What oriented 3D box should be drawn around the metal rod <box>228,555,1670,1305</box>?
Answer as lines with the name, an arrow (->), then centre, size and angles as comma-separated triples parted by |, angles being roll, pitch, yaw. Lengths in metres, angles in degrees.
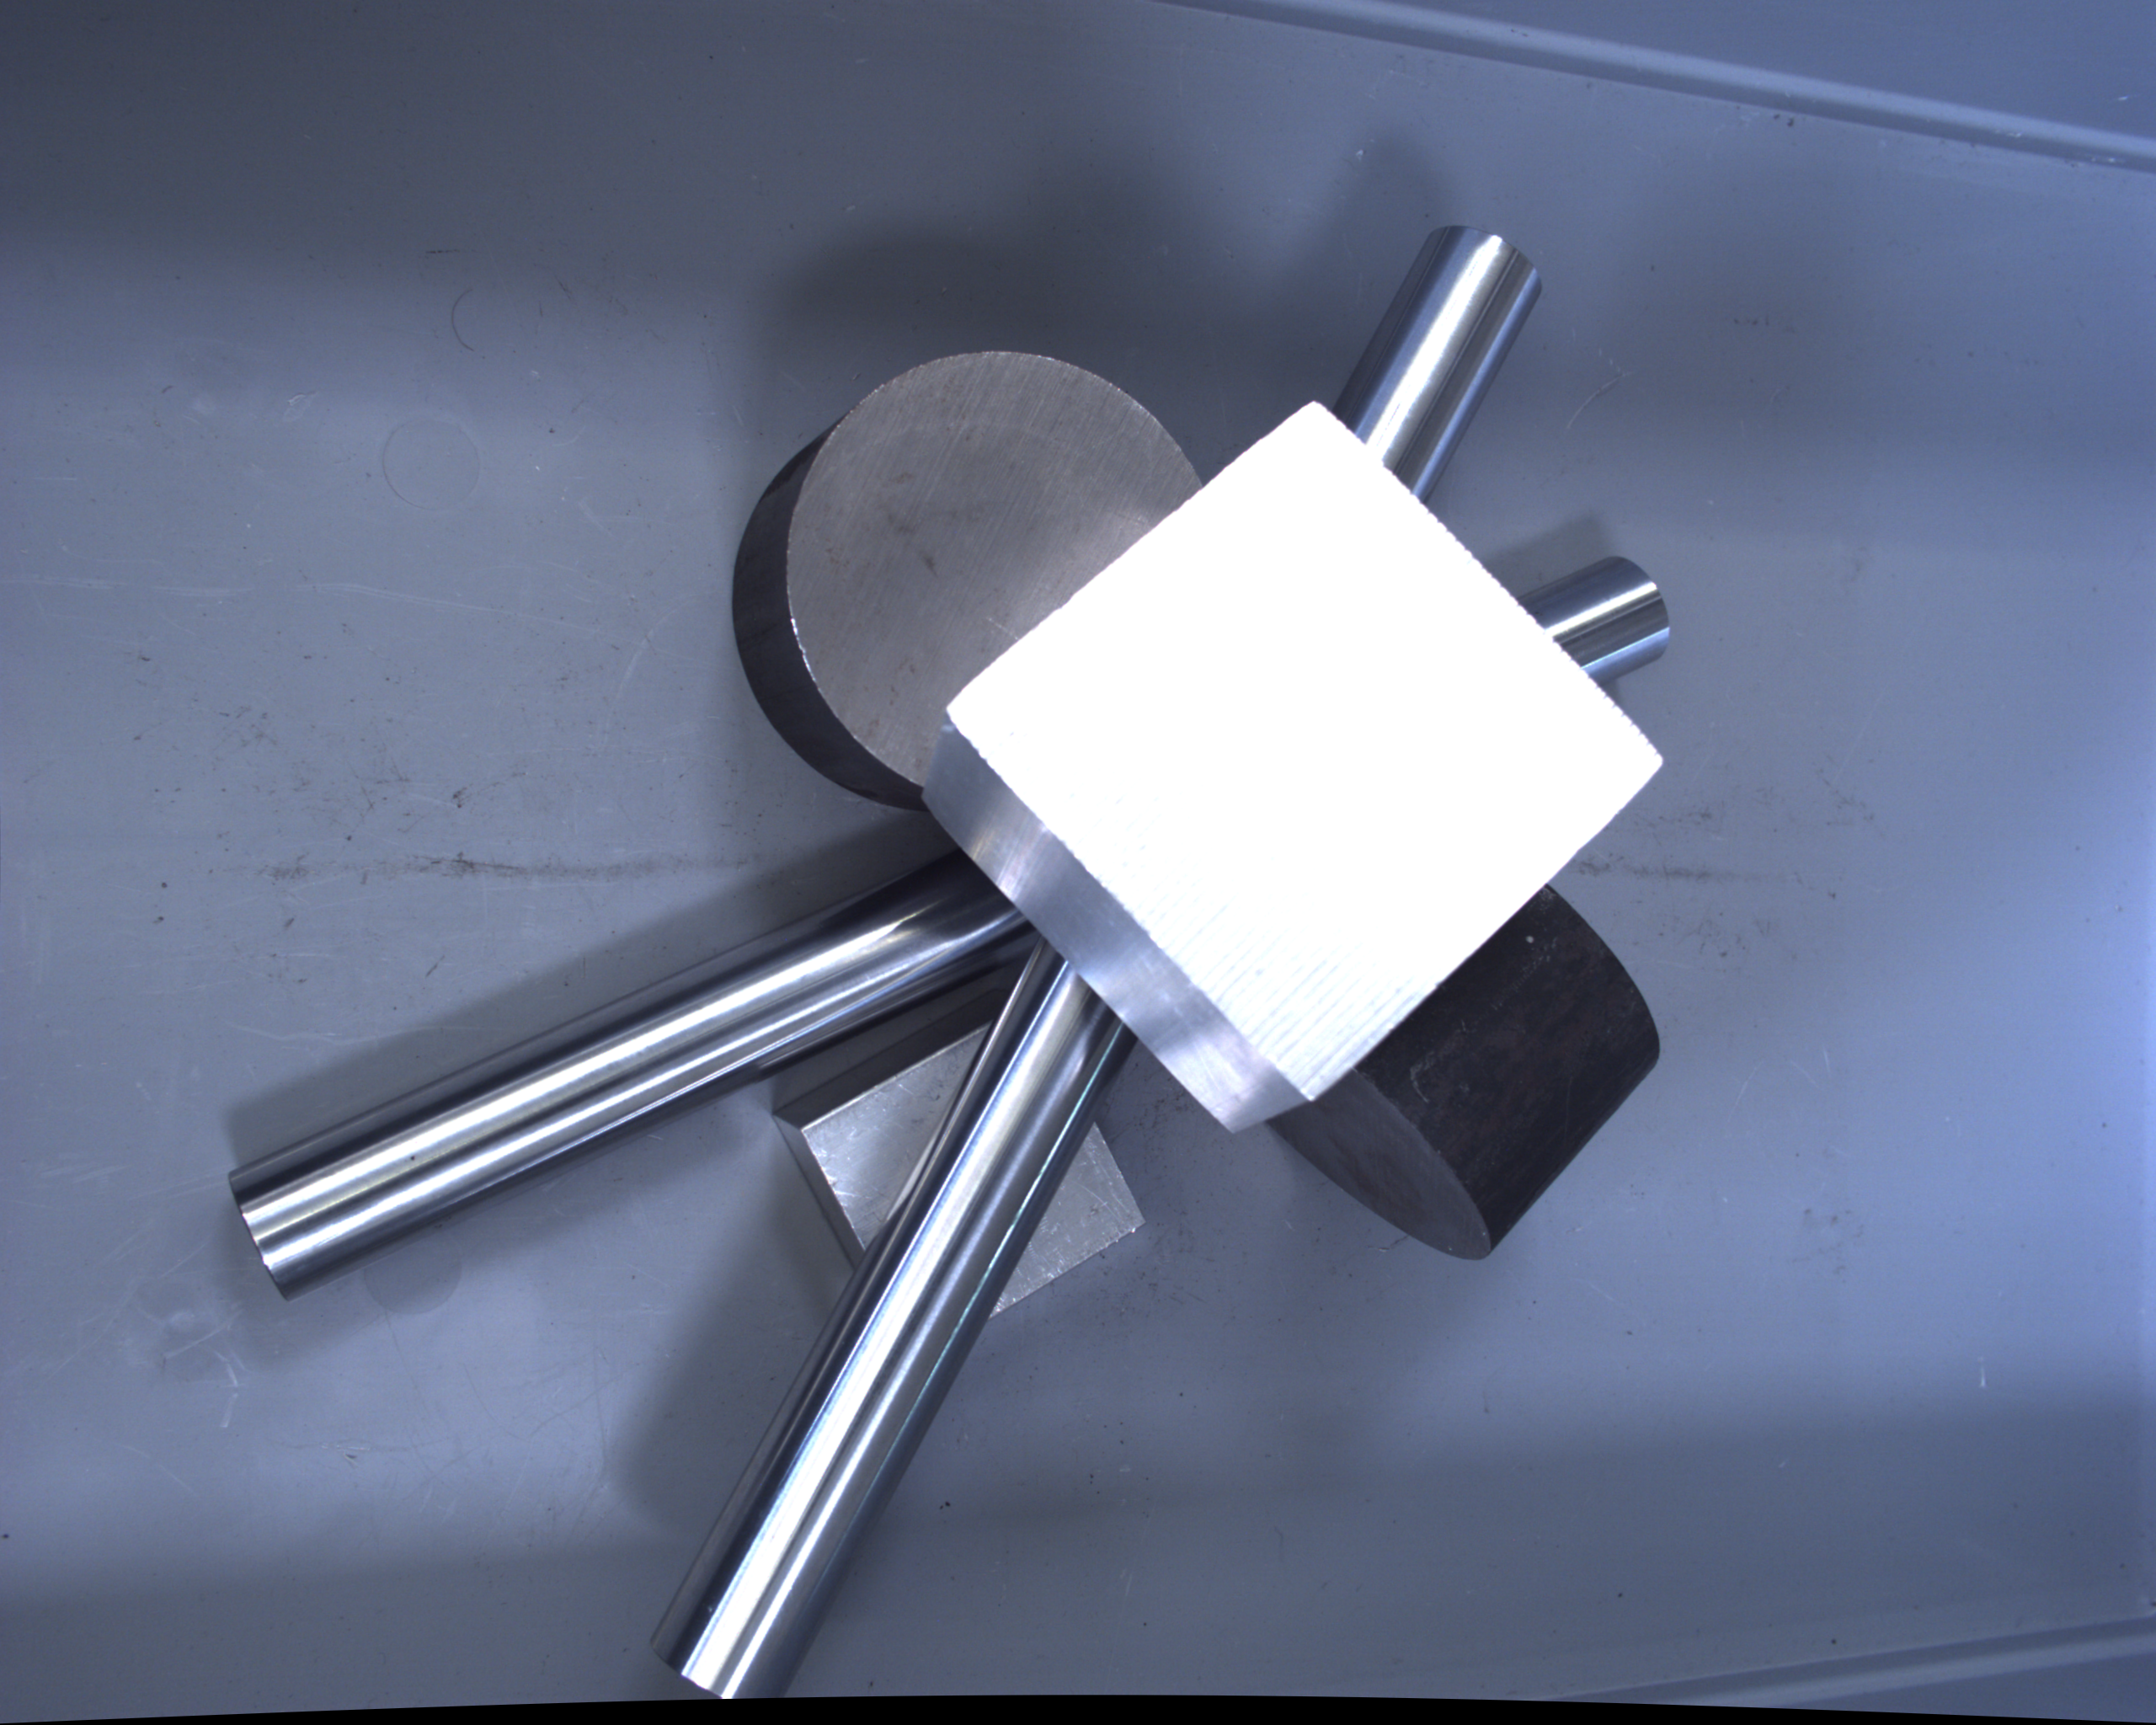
metal rod -> -0.010, 0.005, 0.405 | 0.302, 0.025, 0.025 | -25, 99, -19

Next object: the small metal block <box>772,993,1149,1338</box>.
small metal block -> -0.023, 0.059, 0.401 | 0.050, 0.025, 0.050 | -30, 100, -18

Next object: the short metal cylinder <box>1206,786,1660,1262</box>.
short metal cylinder -> 0.064, 0.031, 0.404 | 0.050, 0.080, 0.080 | -45, 104, -13

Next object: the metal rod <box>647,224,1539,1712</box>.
metal rod -> 0.008, 0.011, 0.386 | 0.025, 0.025, 0.300 | 32, 79, -17

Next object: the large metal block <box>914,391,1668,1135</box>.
large metal block -> 0.032, -0.014, 0.340 | 0.080, 0.050, 0.080 | -41, 86, -15

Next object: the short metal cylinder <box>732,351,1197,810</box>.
short metal cylinder -> -0.020, -0.050, 0.388 | 0.081, 0.050, 0.079 | 0, 90, -20
